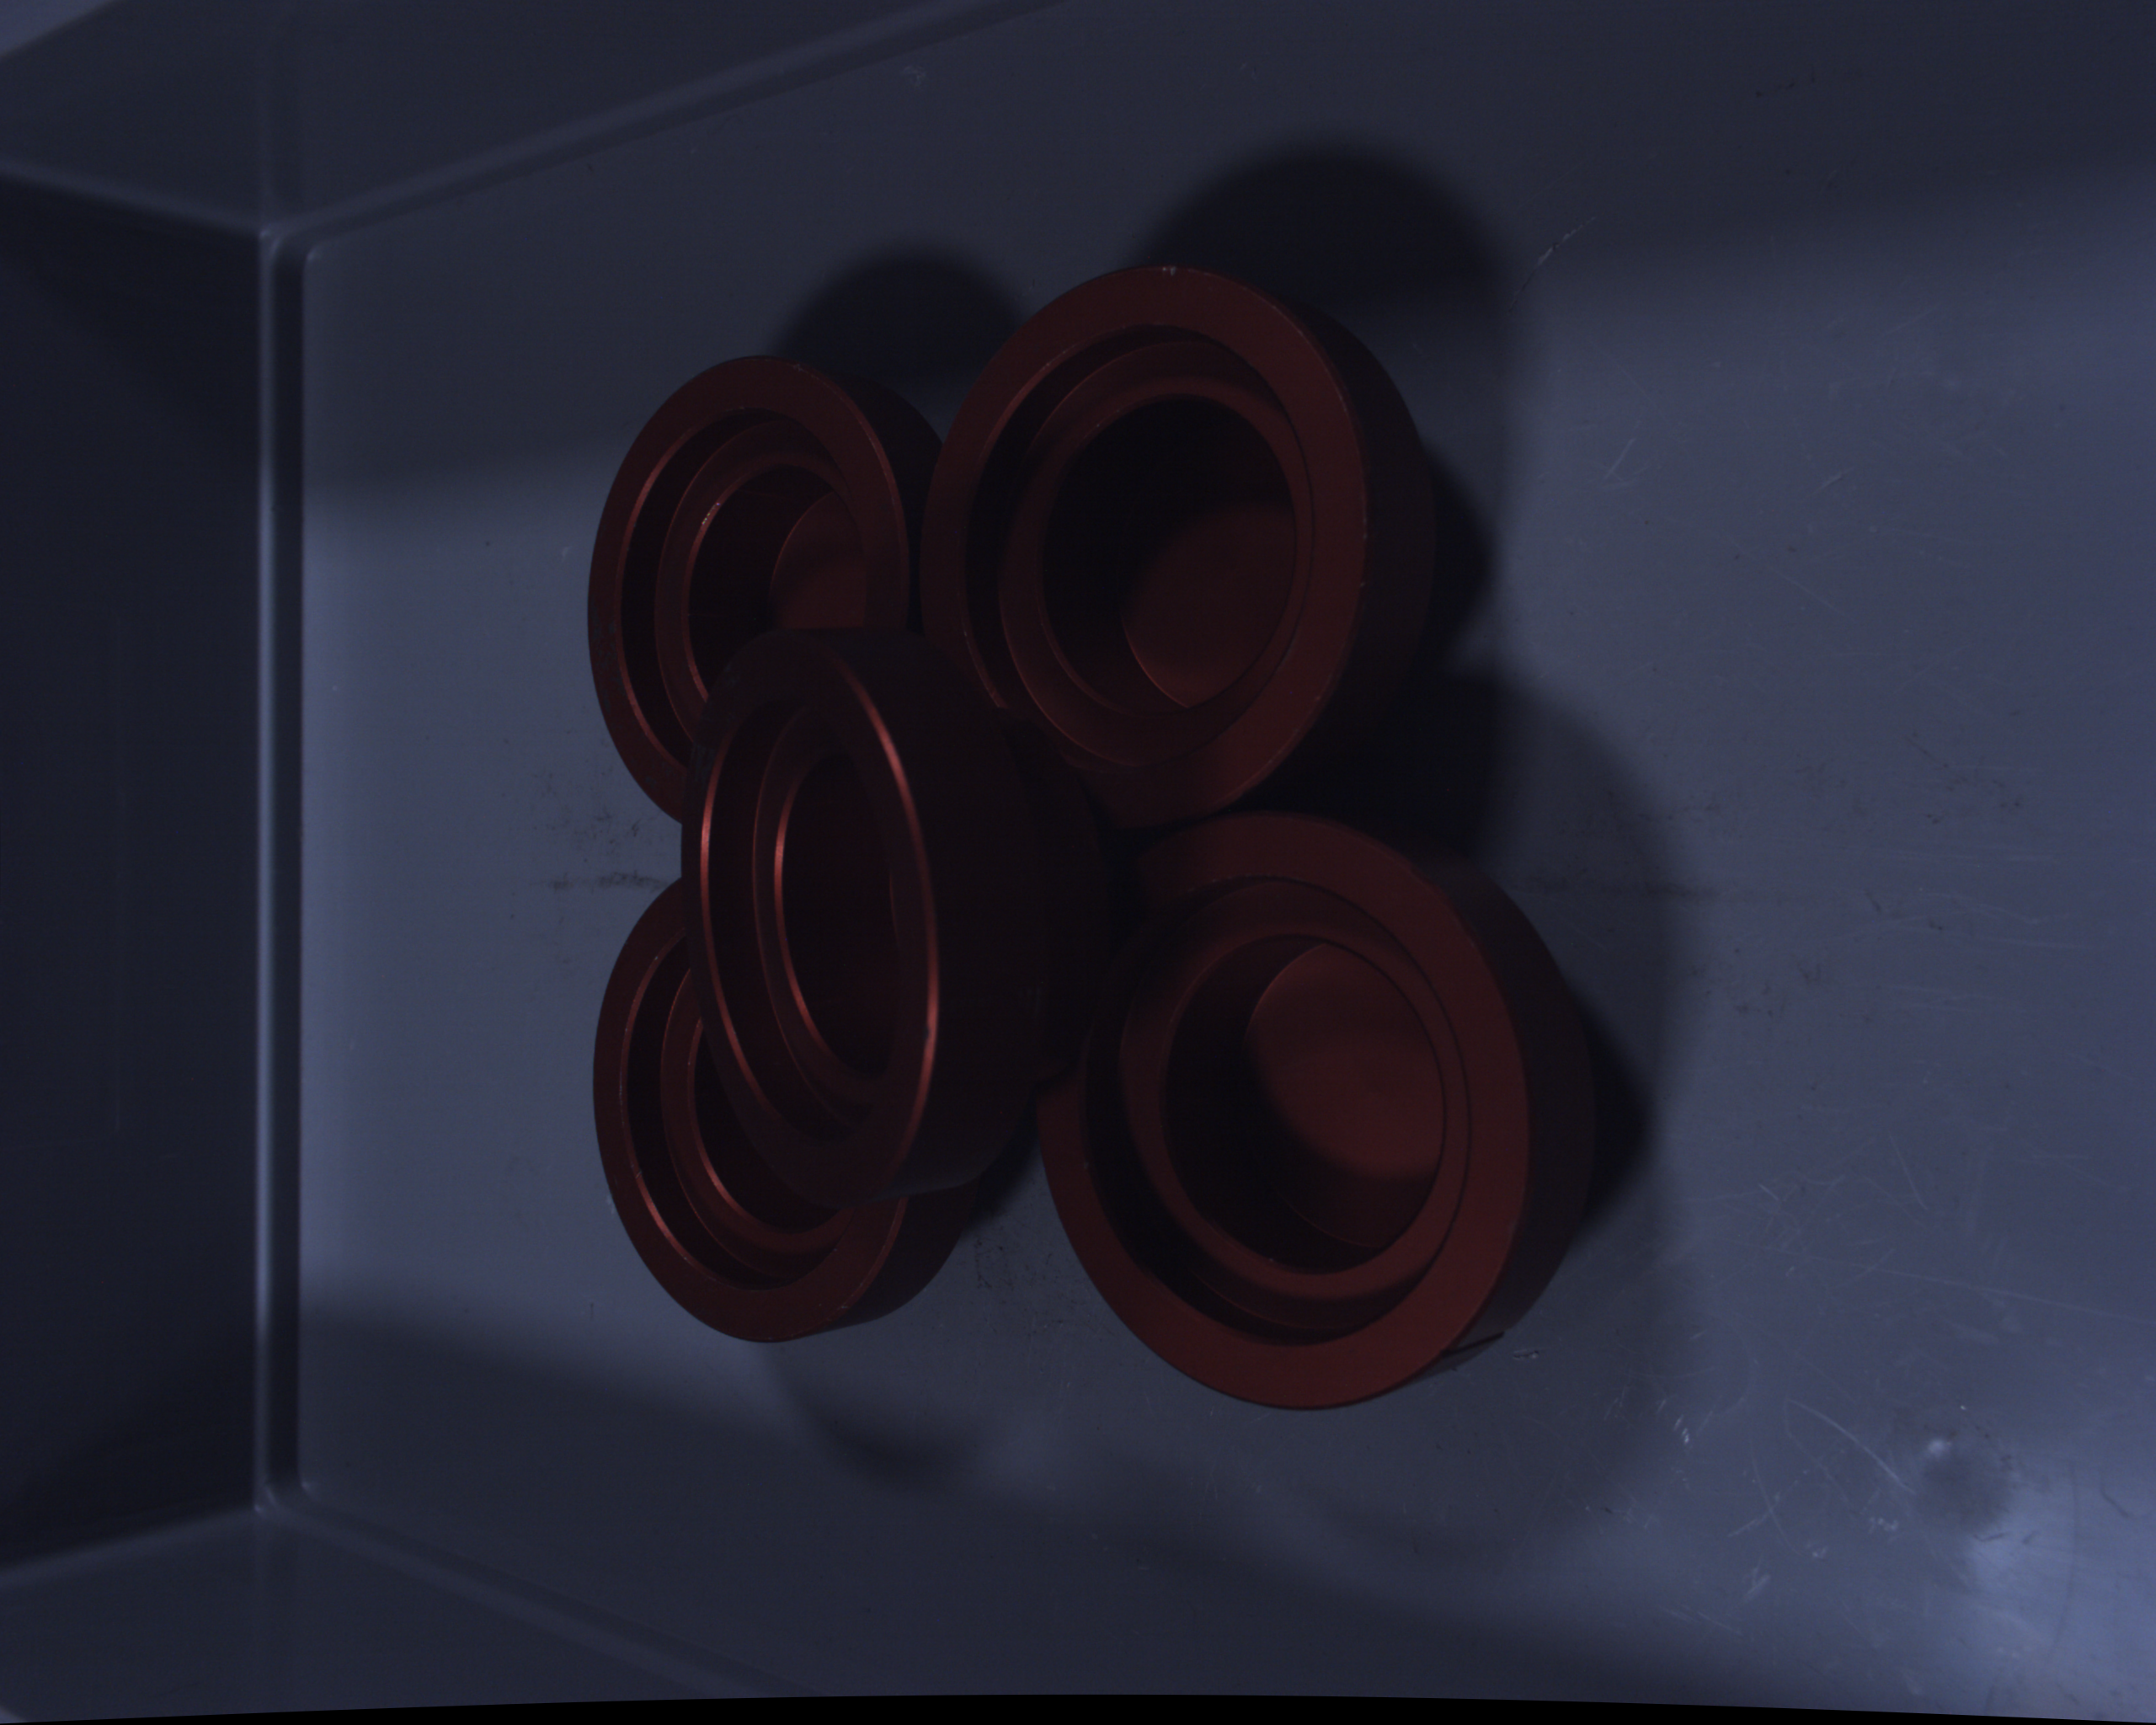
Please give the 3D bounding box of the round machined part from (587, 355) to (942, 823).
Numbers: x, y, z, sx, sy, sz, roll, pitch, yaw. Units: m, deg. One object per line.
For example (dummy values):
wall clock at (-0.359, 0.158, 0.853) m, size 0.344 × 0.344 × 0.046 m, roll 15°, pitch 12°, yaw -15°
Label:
round machined part at (-0.056, -0.054, 0.437) m, size 0.098 × 0.042 × 0.097 m, roll 0°, pitch 90°, yaw 39°

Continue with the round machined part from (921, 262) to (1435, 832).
round machined part at (0.021, -0.054, 0.374) m, size 0.098 × 0.042 × 0.097 m, roll 0°, pitch 90°, yaw 39°

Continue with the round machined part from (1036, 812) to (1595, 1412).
round machined part at (0.043, 0.040, 0.356) m, size 0.098 × 0.042 × 0.097 m, roll 0°, pitch 90°, yaw 39°

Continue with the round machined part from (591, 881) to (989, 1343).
round machined part at (-0.054, 0.048, 0.436) m, size 0.098 × 0.042 × 0.097 m, roll 0°, pitch 90°, yaw 39°

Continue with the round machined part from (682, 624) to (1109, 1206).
round machined part at (-0.030, 0.007, 0.361) m, size 0.098 × 0.042 × 0.097 m, roll 14°, pitch 106°, yaw 56°
